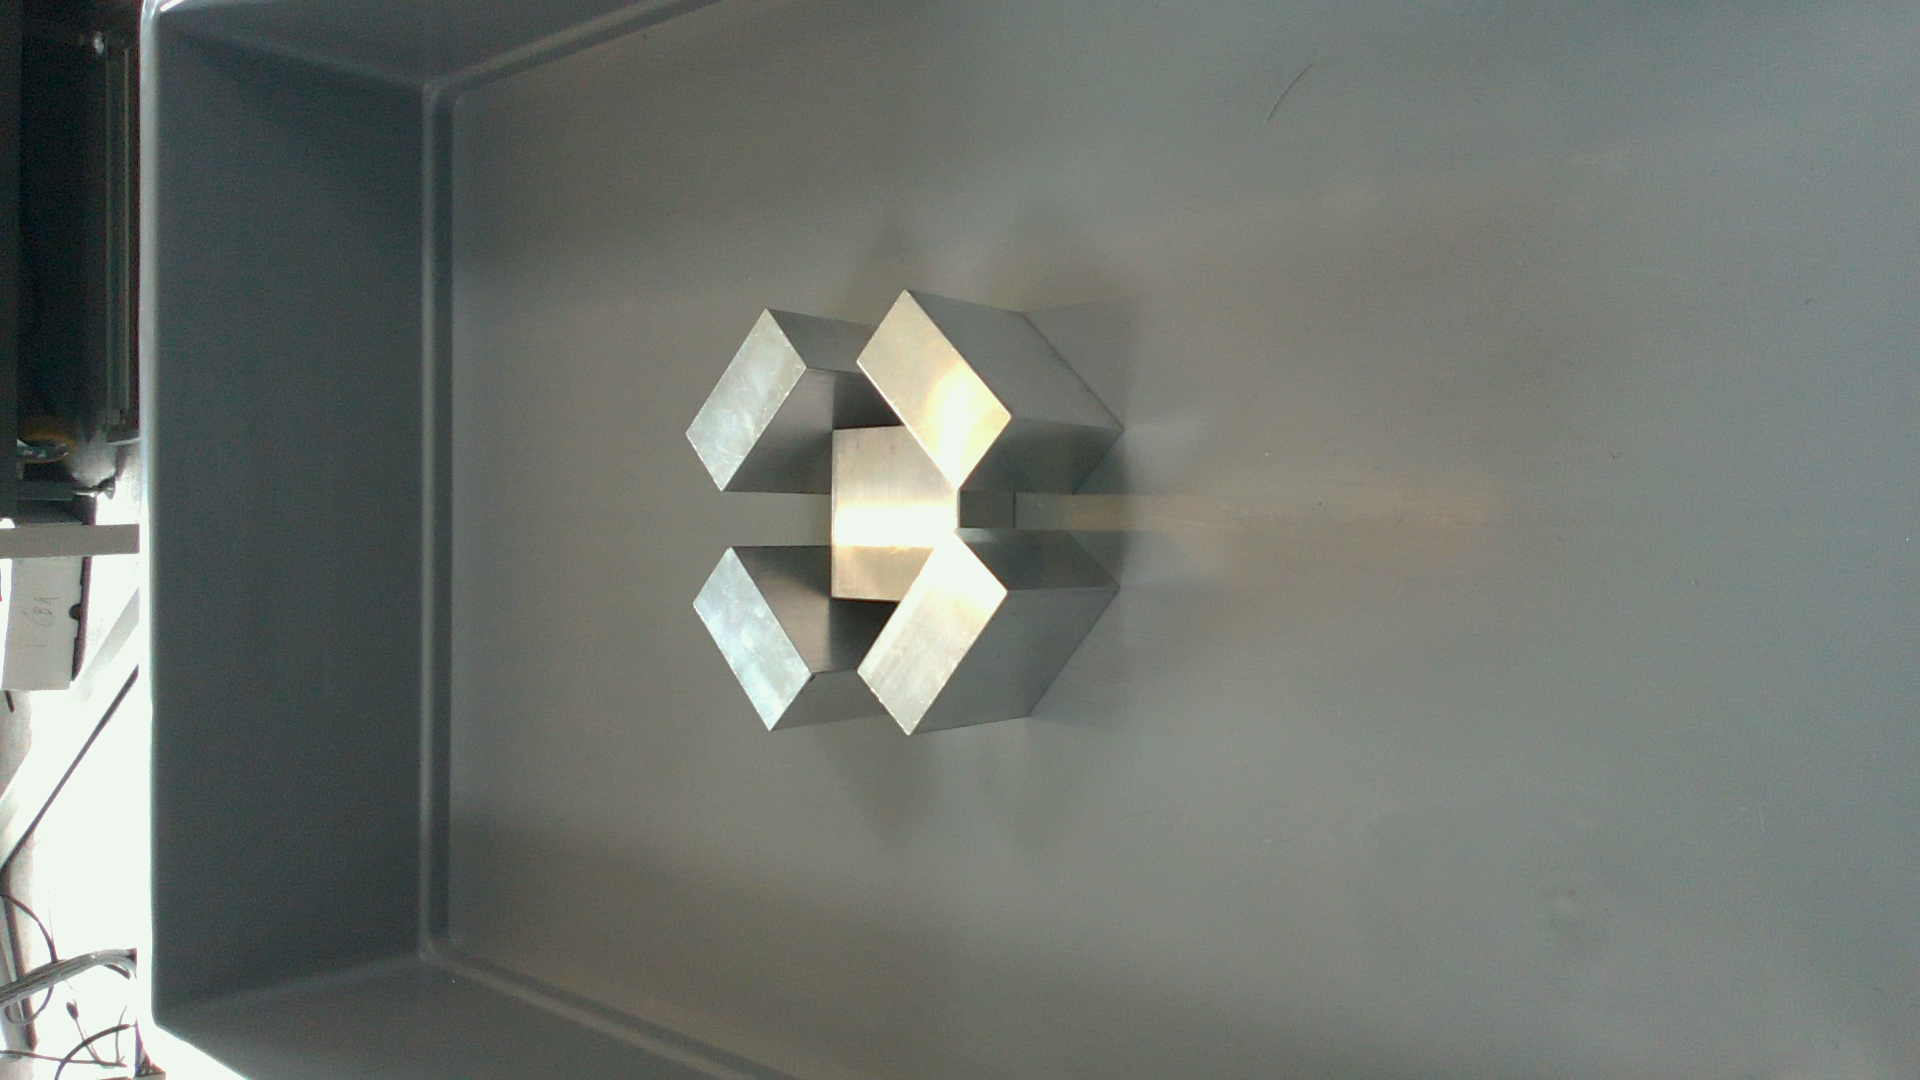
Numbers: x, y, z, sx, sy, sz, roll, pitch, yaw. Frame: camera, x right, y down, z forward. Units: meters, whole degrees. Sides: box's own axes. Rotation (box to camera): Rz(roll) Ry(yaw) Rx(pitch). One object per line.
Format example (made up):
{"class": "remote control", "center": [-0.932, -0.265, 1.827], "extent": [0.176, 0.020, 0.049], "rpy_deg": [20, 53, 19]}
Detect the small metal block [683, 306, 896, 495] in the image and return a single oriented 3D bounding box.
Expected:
{"class": "small metal block", "center": [-0.047, -0.040, 0.415], "extent": [0.050, 0.050, 0.025], "rpy_deg": [-50, 60, 29]}

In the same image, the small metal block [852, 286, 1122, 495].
{"class": "small metal block", "center": [0.008, -0.039, 0.370], "extent": [0.025, 0.050, 0.050], "rpy_deg": [-52, 60, 27]}

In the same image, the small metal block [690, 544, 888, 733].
{"class": "small metal block", "center": [-0.044, 0.028, 0.414], "extent": [0.050, 0.050, 0.025], "rpy_deg": [53, 122, 27]}

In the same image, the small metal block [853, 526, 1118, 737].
{"class": "small metal block", "center": [0.007, 0.024, 0.370], "extent": [0.025, 0.050, 0.050], "rpy_deg": [47, 117, 29]}

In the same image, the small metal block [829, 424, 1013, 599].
{"class": "small metal block", "center": [-0.012, -0.008, 0.403], "extent": [0.050, 0.025, 0.050], "rpy_deg": [1, 91, 40]}
